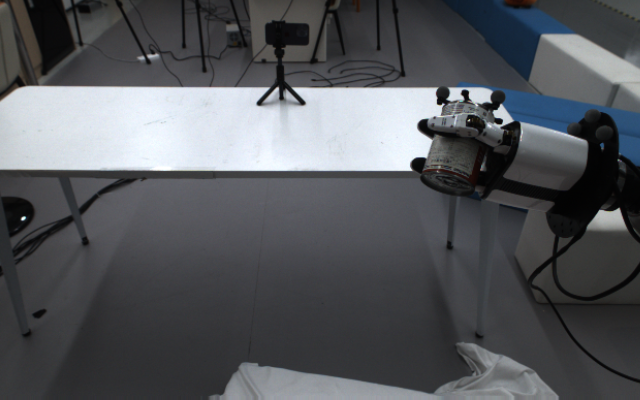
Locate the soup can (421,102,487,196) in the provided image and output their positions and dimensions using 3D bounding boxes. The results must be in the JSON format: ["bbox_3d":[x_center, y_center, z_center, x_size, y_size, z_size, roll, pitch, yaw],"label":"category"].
[{"bbox_3d":[0.174,-0.066,0.607,0.067,0.067,0.101,15,75,18],"label":"soup can"}]
